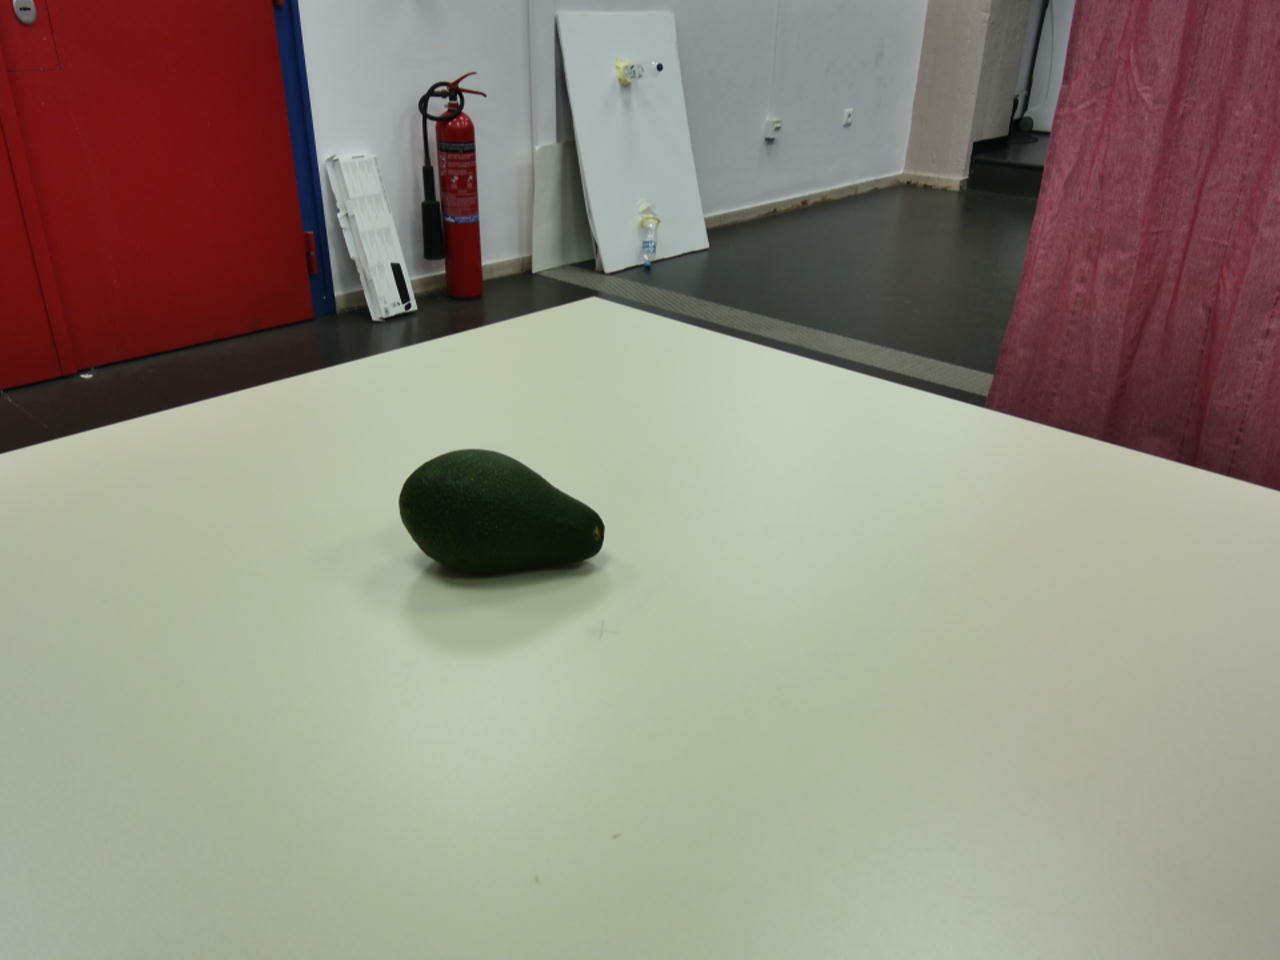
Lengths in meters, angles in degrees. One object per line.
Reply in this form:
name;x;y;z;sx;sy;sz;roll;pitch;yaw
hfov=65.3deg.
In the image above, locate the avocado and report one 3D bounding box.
avocado;-0.081;0.019;0.569;0.110;0.071;0.072;9;26;17
